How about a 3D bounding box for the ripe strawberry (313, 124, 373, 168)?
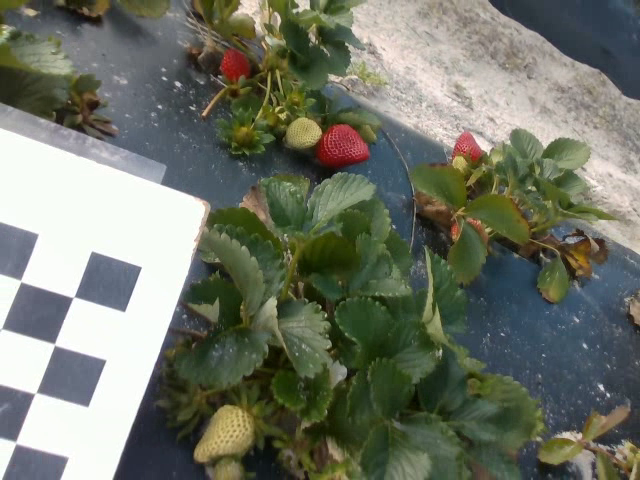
[{"bbox_3d":[0.025,-0.090,0.603,0.051,0.048,0.055,-39,39,-16],"label":"ripe strawberry"}]
